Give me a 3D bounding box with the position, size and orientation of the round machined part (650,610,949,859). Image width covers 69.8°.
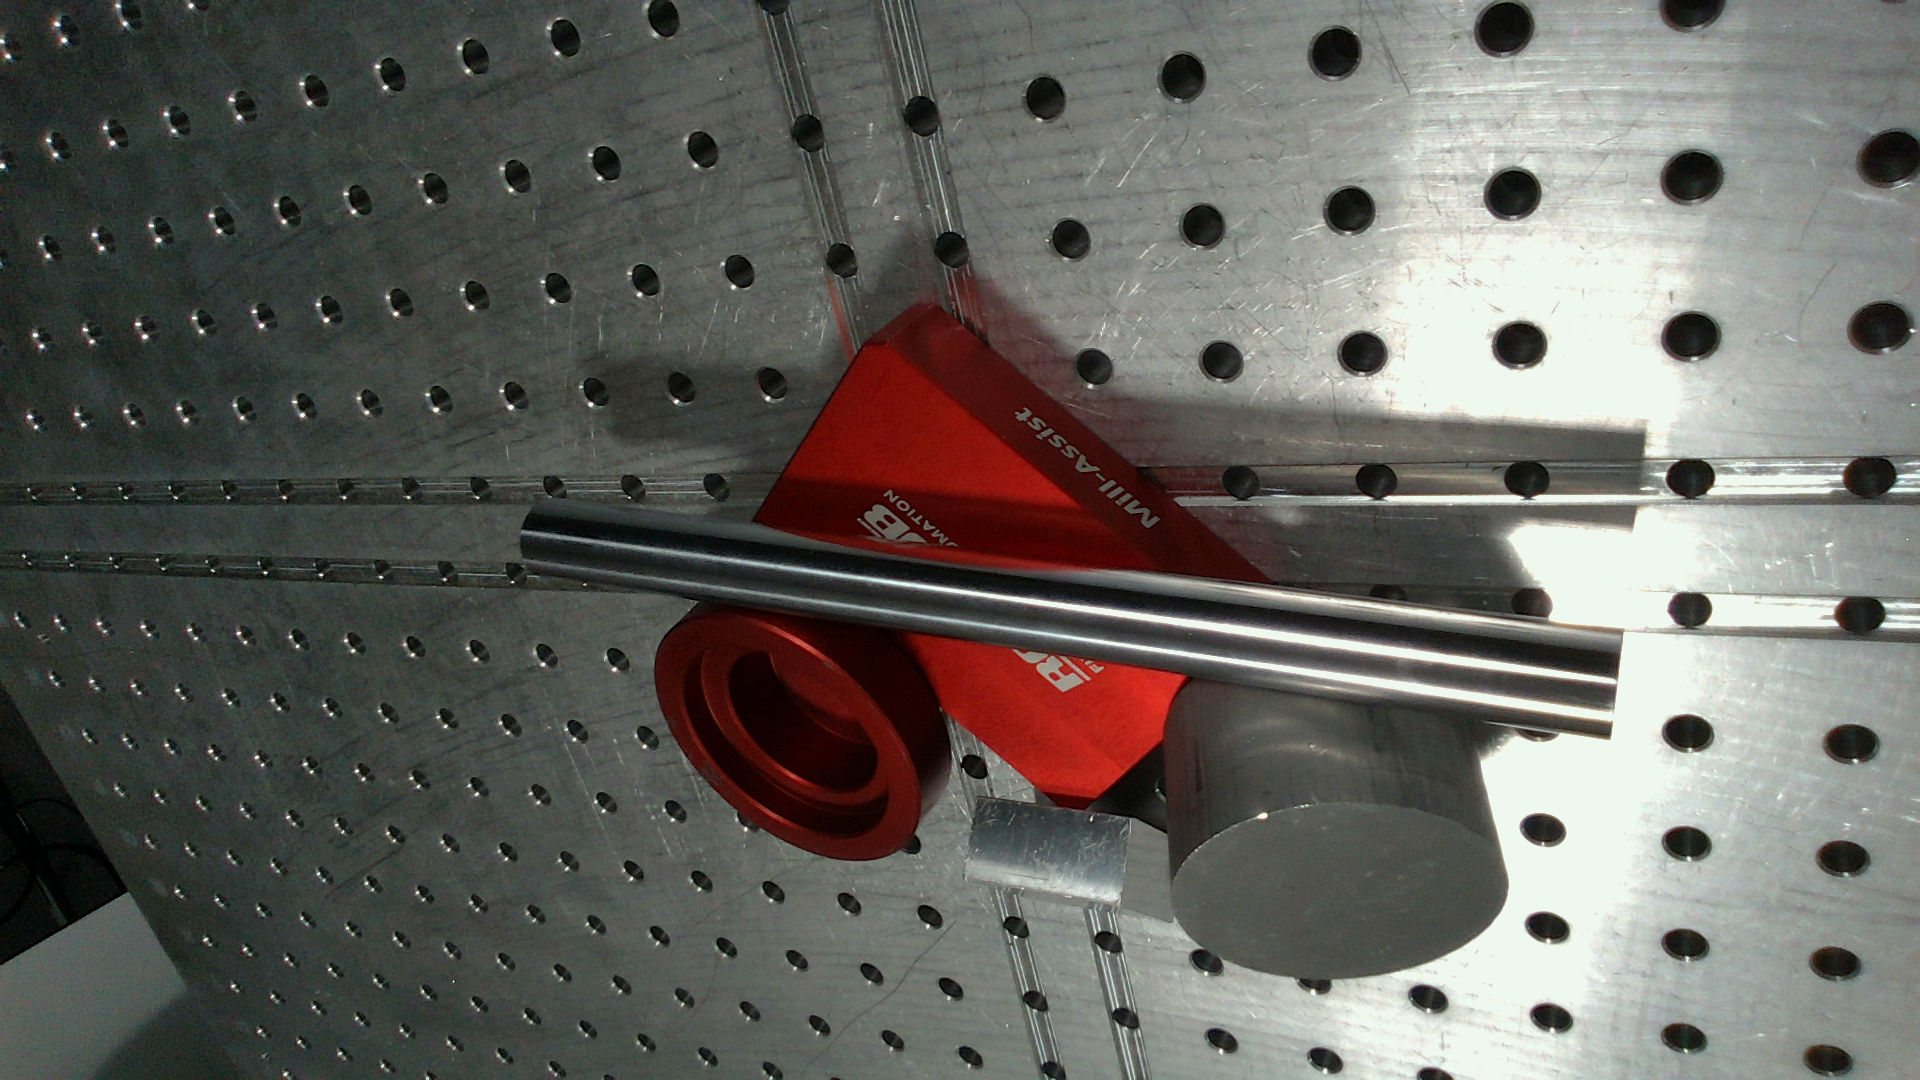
[{"bbox_3d":[-0.046,0.051,0.435,0.098,0.042,0.098,19,133,21],"label":"round machined part"}]

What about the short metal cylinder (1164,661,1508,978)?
[{"bbox_3d":[0.093,0.070,0.353,0.080,0.050,0.080,2,135,2],"label":"short metal cylinder"}]

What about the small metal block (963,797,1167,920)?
[{"bbox_3d":[0.036,0.098,0.420,0.050,0.025,0.050,2,163,27],"label":"small metal block"}]

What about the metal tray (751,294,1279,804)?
[{"bbox_3d":[0.013,0.005,0.391,0.130,0.030,0.090,40,129,1],"label":"metal tray"}]

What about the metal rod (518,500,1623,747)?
[{"bbox_3d":[0.008,0.016,0.361,0.299,0.025,0.025,7,122,25],"label":"metal rod"}]
